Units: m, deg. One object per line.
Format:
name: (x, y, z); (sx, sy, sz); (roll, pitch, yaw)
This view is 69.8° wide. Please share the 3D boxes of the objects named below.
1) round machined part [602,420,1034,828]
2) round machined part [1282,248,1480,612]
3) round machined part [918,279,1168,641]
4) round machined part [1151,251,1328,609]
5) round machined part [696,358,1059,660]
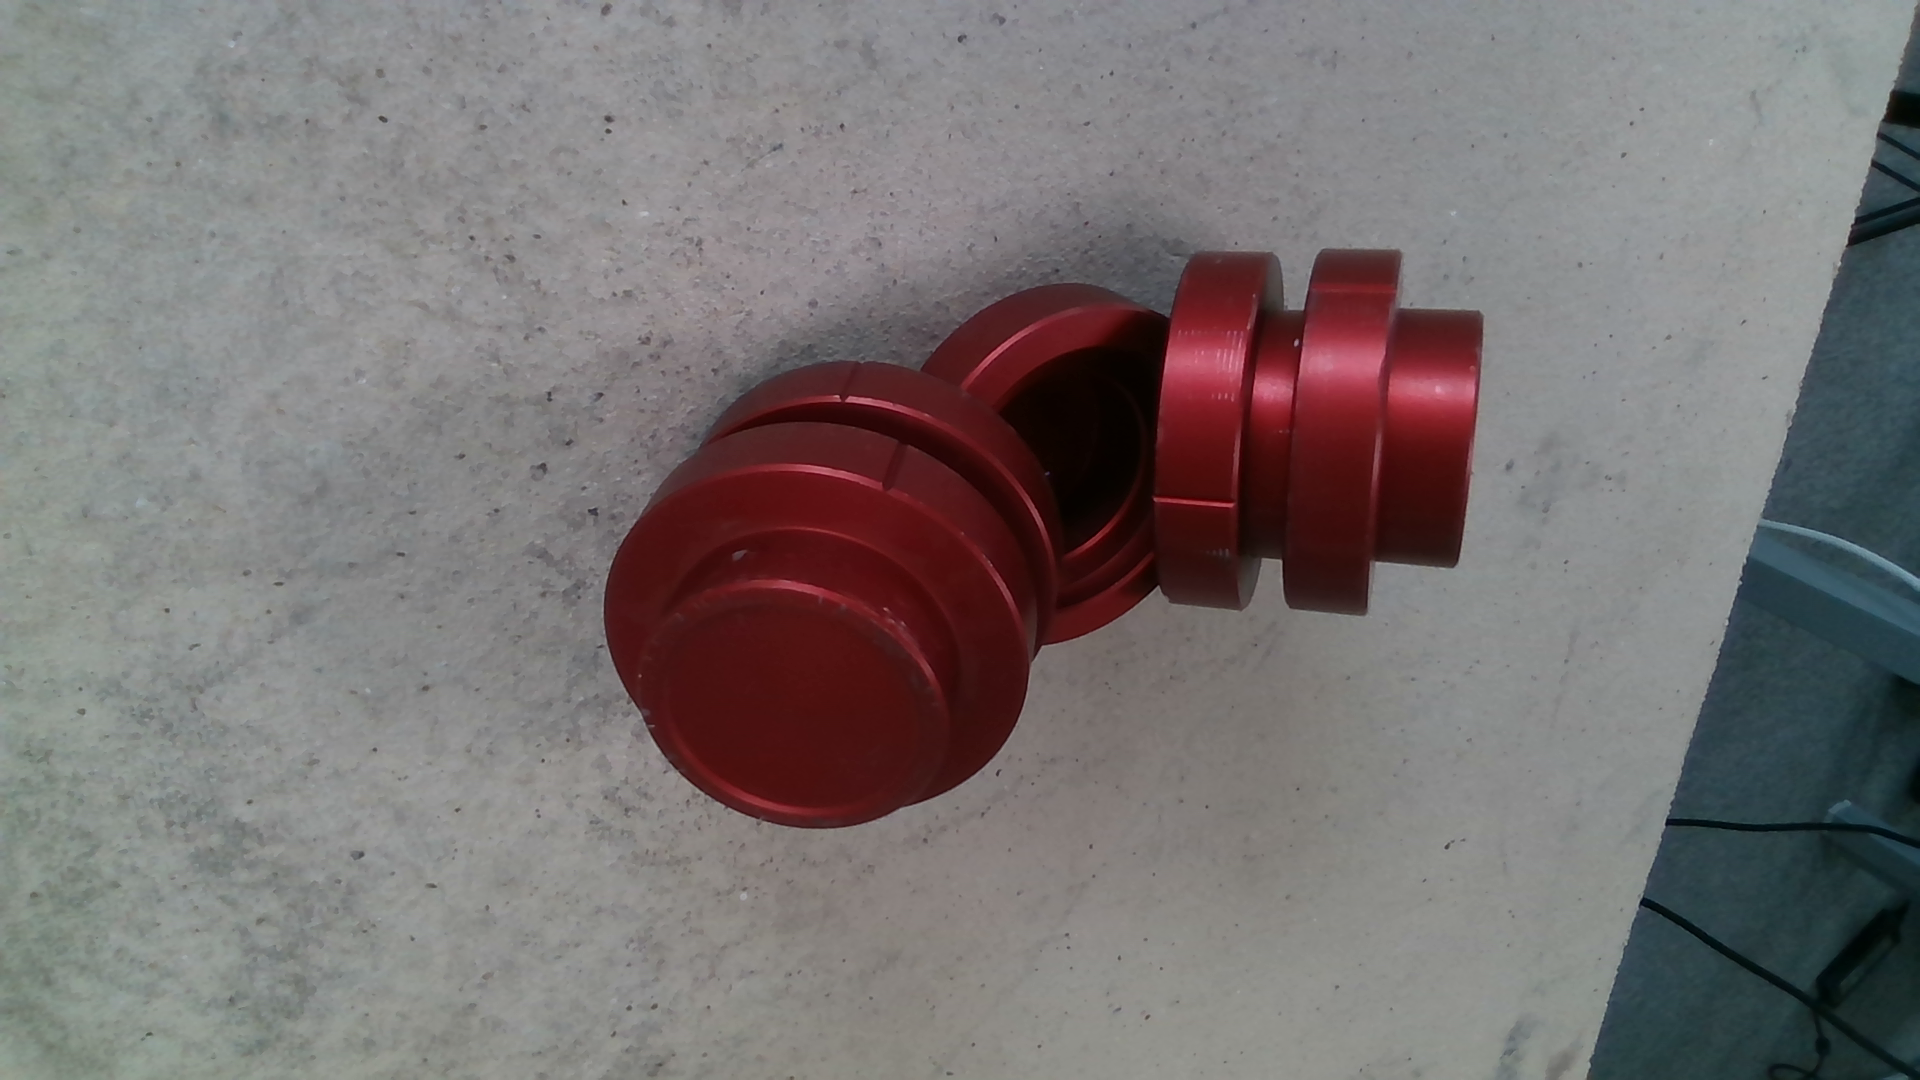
round machined part: (-0.033, 0.026, 0.311); (0.098, 0.042, 0.098); (4, 123, 6)
round machined part: (0.115, -0.029, 0.372); (0.098, 0.042, 0.098); (6, 89, -72)
round machined part: (0.021, -0.024, 0.380); (0.098, 0.042, 0.098); (-14, 122, -25)
round machined part: (0.083, -0.030, 0.379); (0.098, 0.042, 0.098); (6, 89, -72)
round machined part: (-0.025, 0.009, 0.337); (0.098, 0.042, 0.098); (4, 123, 7)
